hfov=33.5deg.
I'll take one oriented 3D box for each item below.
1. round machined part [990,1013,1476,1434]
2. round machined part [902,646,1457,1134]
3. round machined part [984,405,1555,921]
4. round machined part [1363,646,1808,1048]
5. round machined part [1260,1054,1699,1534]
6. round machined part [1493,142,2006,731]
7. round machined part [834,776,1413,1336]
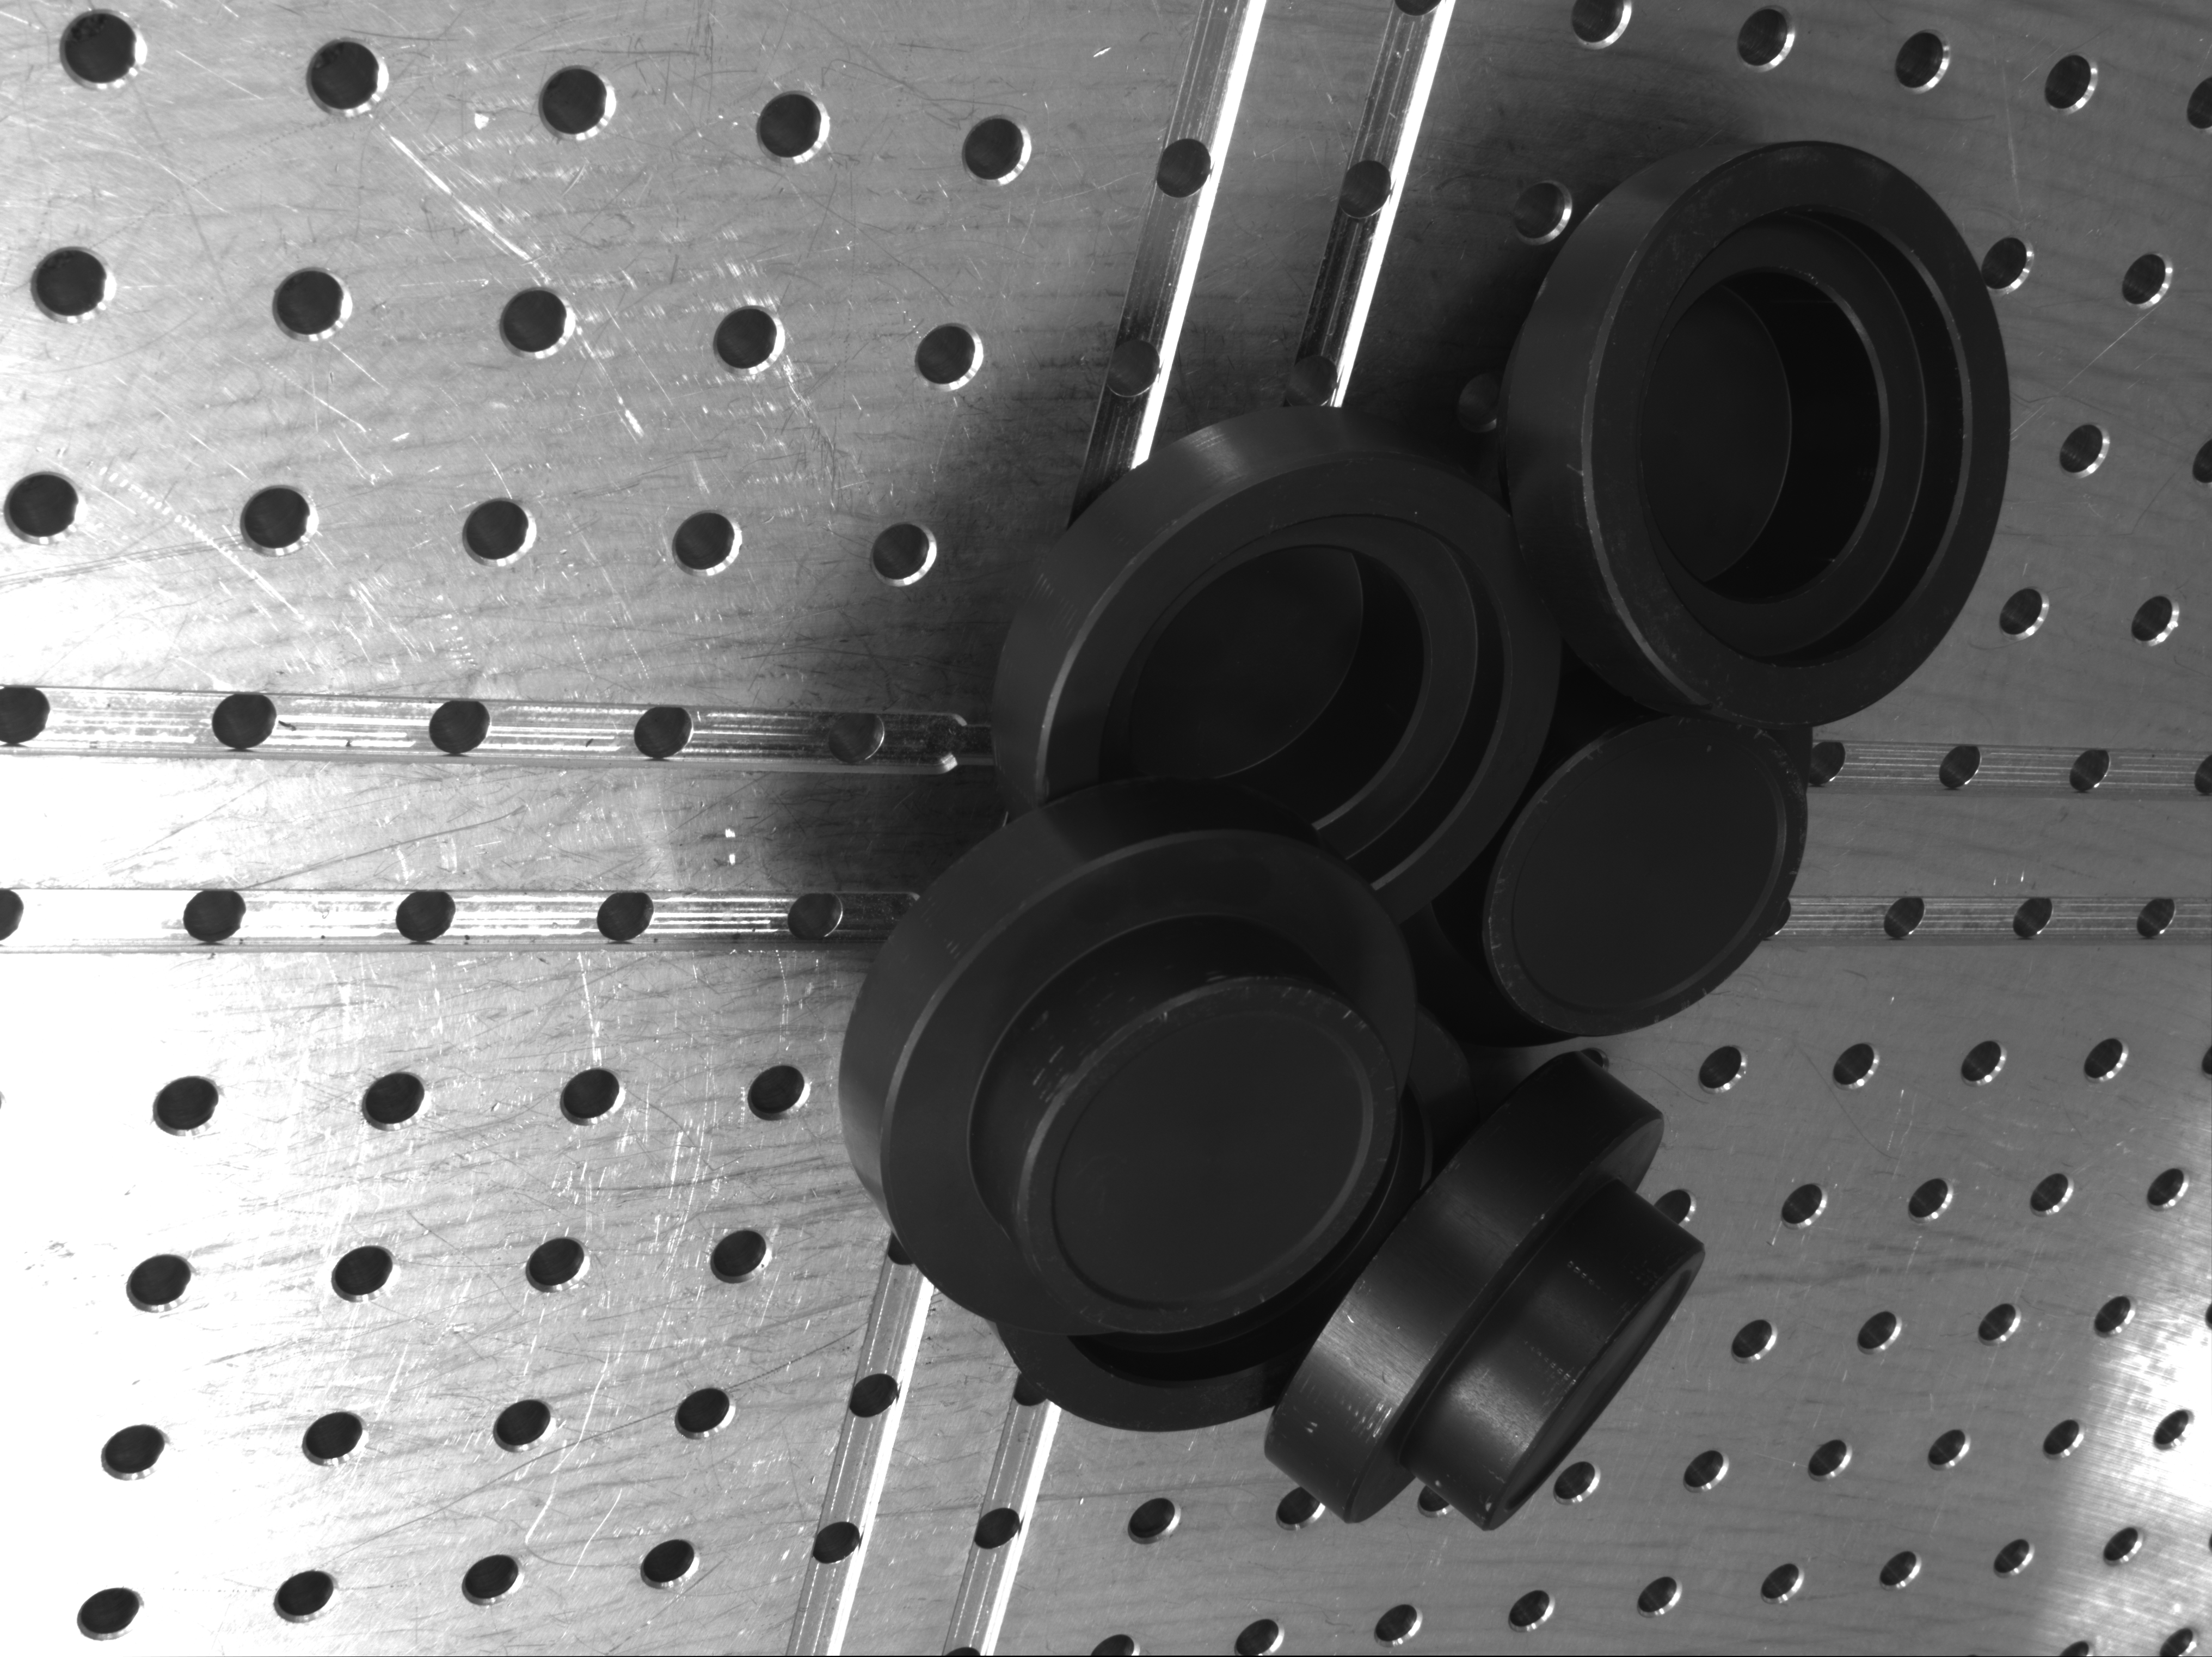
[{"bbox_3d":[0.015,0.059,0.674,0.098,0.042,0.098,-13,124,-21],"label":"round machined part"},{"bbox_3d":[0.009,0.012,0.641,0.098,0.042,0.098,-13,124,-21],"label":"round machined part"},{"bbox_3d":[0.024,-0.027,0.626,0.098,0.042,0.098,-13,124,-21],"label":"round machined part"},{"bbox_3d":[0.089,-0.001,0.676,0.098,0.042,0.098,-13,124,-21],"label":"round machined part"},{"bbox_3d":[0.076,0.094,0.696,0.098,0.042,0.098,-46,161,-20],"label":"round machined part"},{"bbox_3d":[0.106,-0.068,0.631,0.098,0.042,0.098,-6,101,-34],"label":"round machined part"},{"bbox_3d":[0.008,0.044,0.606,0.098,0.042,0.098,-13,124,-21],"label":"round machined part"}]
